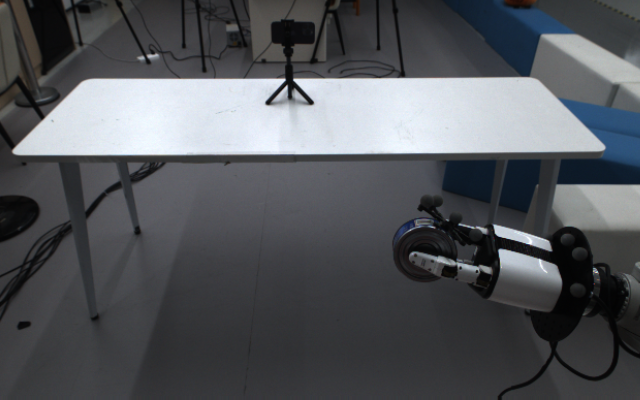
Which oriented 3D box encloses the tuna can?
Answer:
[{"bbox_3d":[0.144,0.067,0.660,0.085,0.085,0.034,6,19,6],"label":"tuna can"}]
